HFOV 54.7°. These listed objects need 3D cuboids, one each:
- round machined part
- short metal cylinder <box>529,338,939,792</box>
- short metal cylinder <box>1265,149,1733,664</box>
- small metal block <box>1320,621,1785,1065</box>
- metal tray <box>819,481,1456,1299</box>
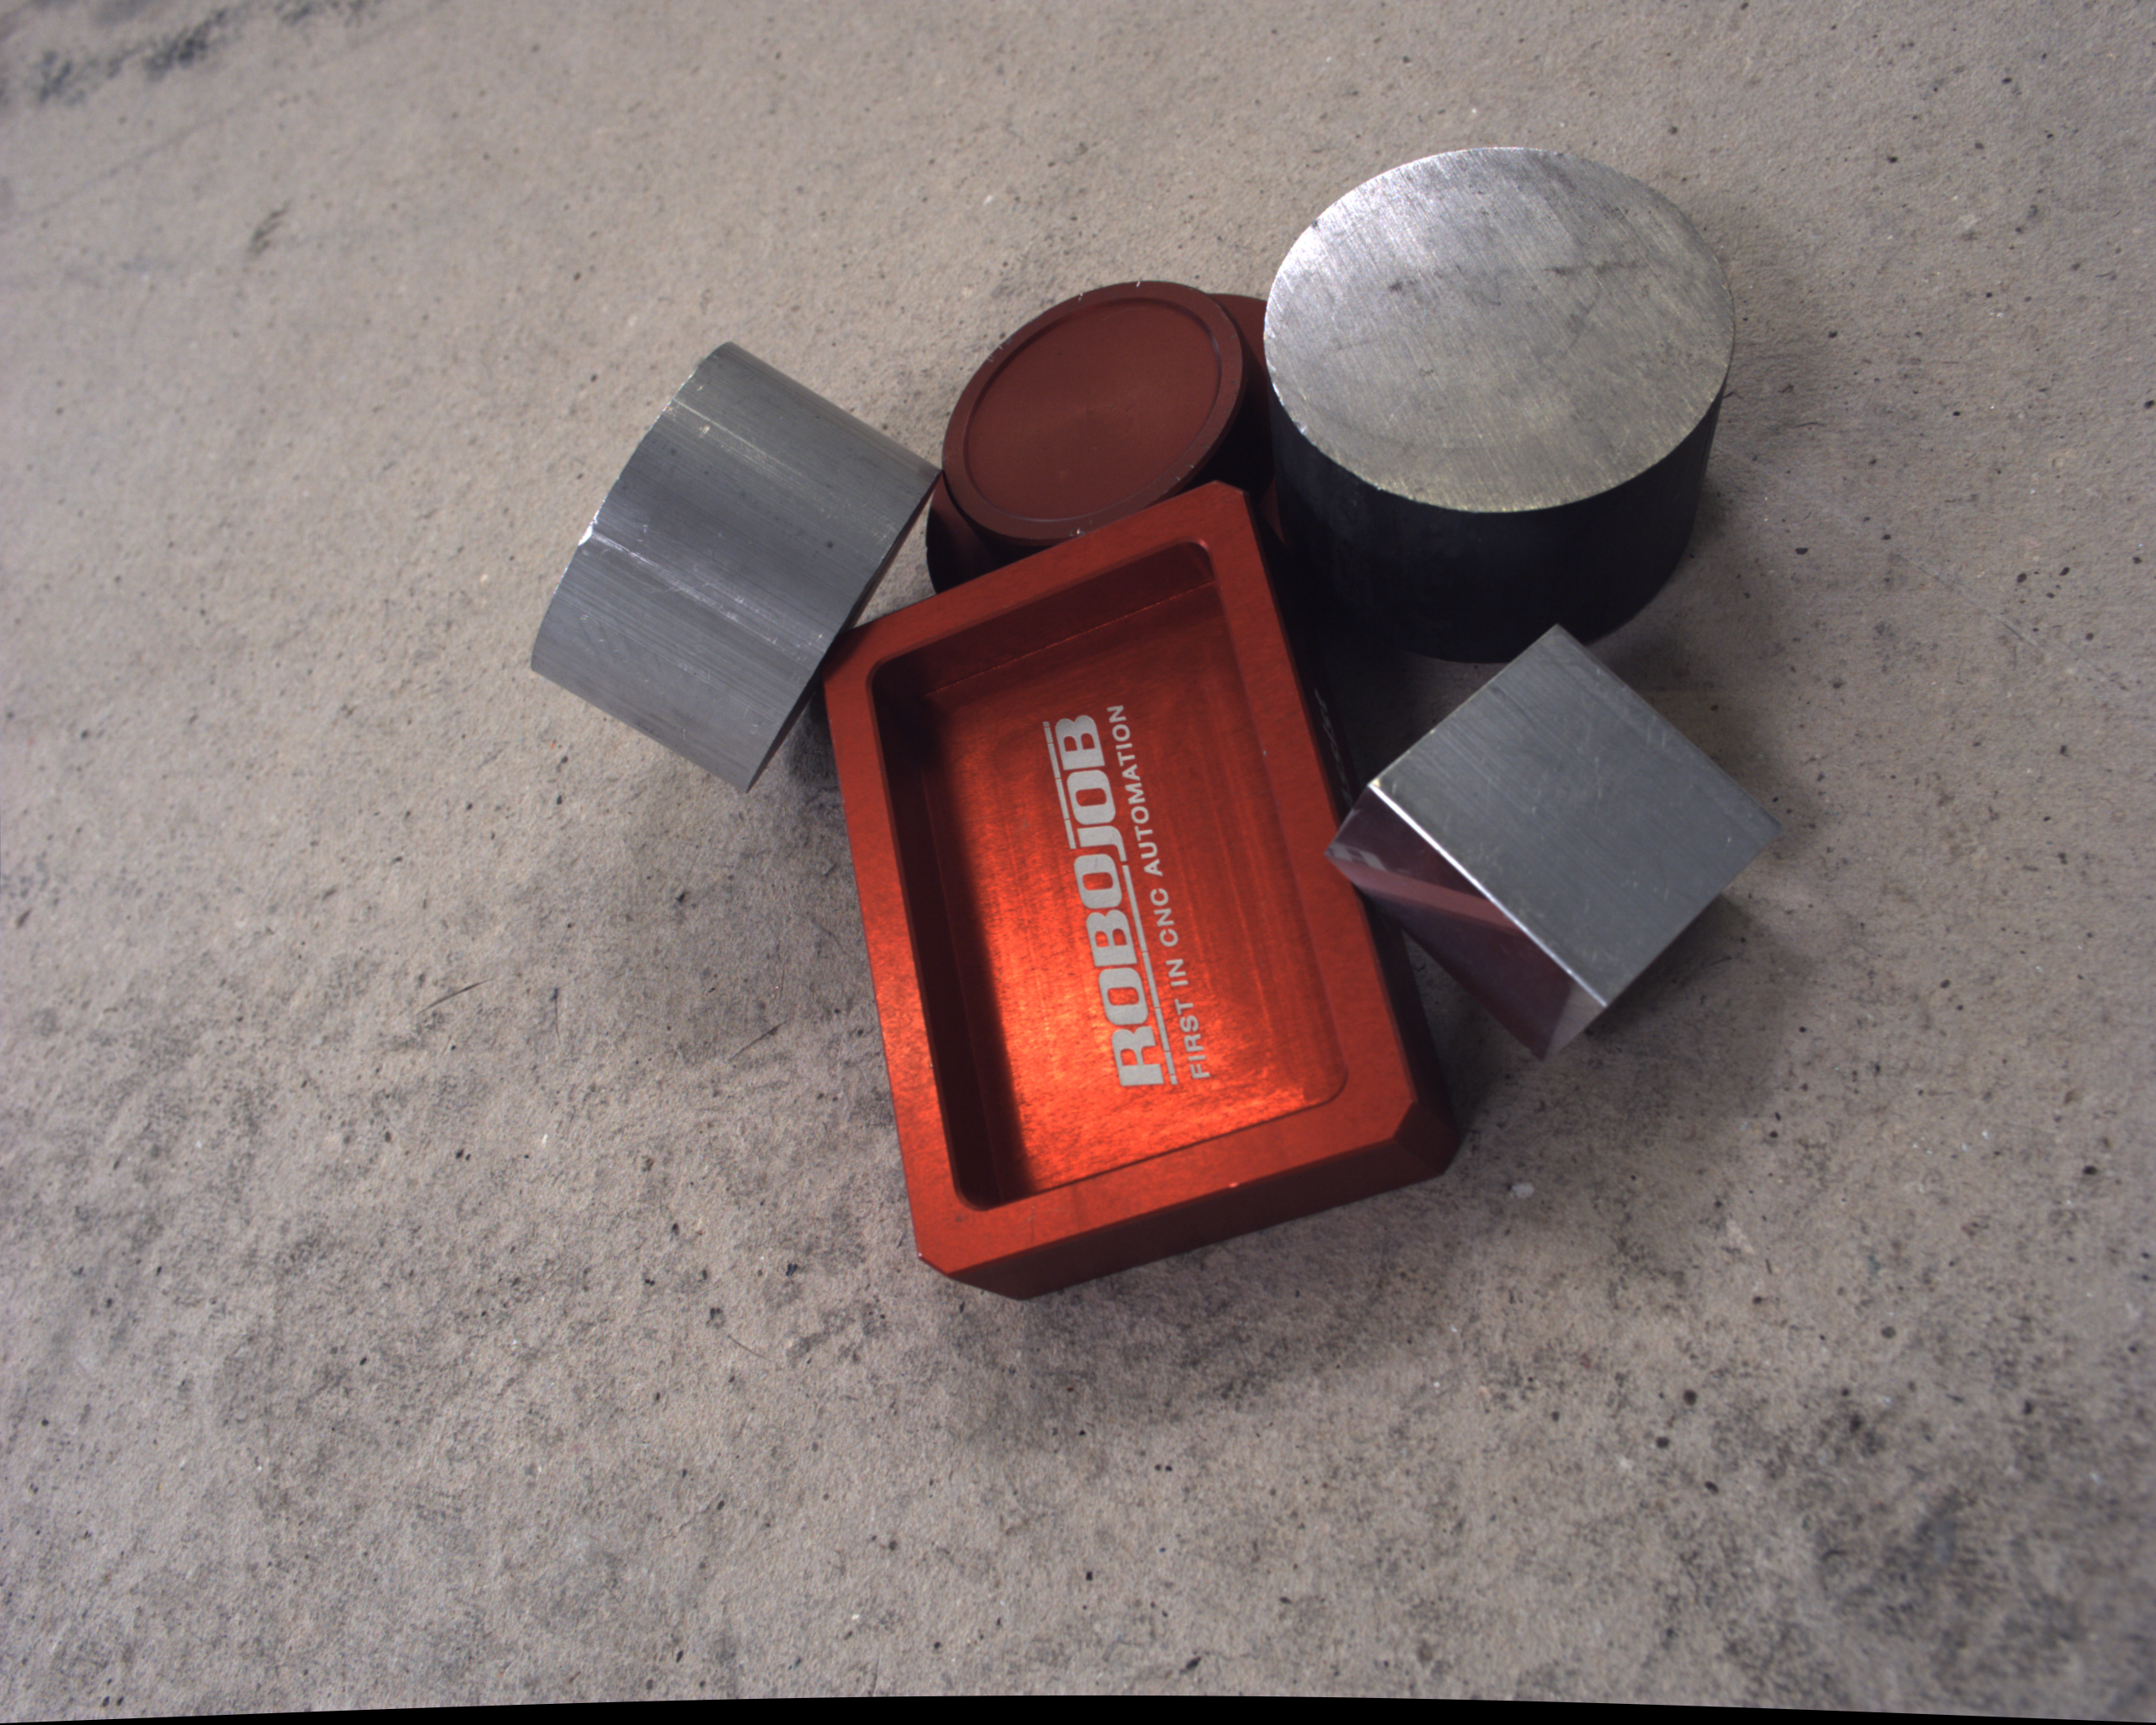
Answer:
[{"bbox_3d":[0.011,-0.083,0.440,0.098,0.042,0.098,-13,56,21],"label":"round machined part"},{"bbox_3d":[-0.071,-0.062,0.437,0.050,0.080,0.080,31,74,-7],"label":"short metal cylinder"},{"bbox_3d":[0.076,-0.084,0.387,0.080,0.050,0.080,-3,64,7],"label":"short metal cylinder"},{"bbox_3d":[0.078,-0.004,0.344,0.050,0.025,0.050,-38,76,-27],"label":"small metal block"},{"bbox_3d":[0.007,0.004,0.381,0.090,0.030,0.130,-20,64,16],"label":"metal tray"}]
